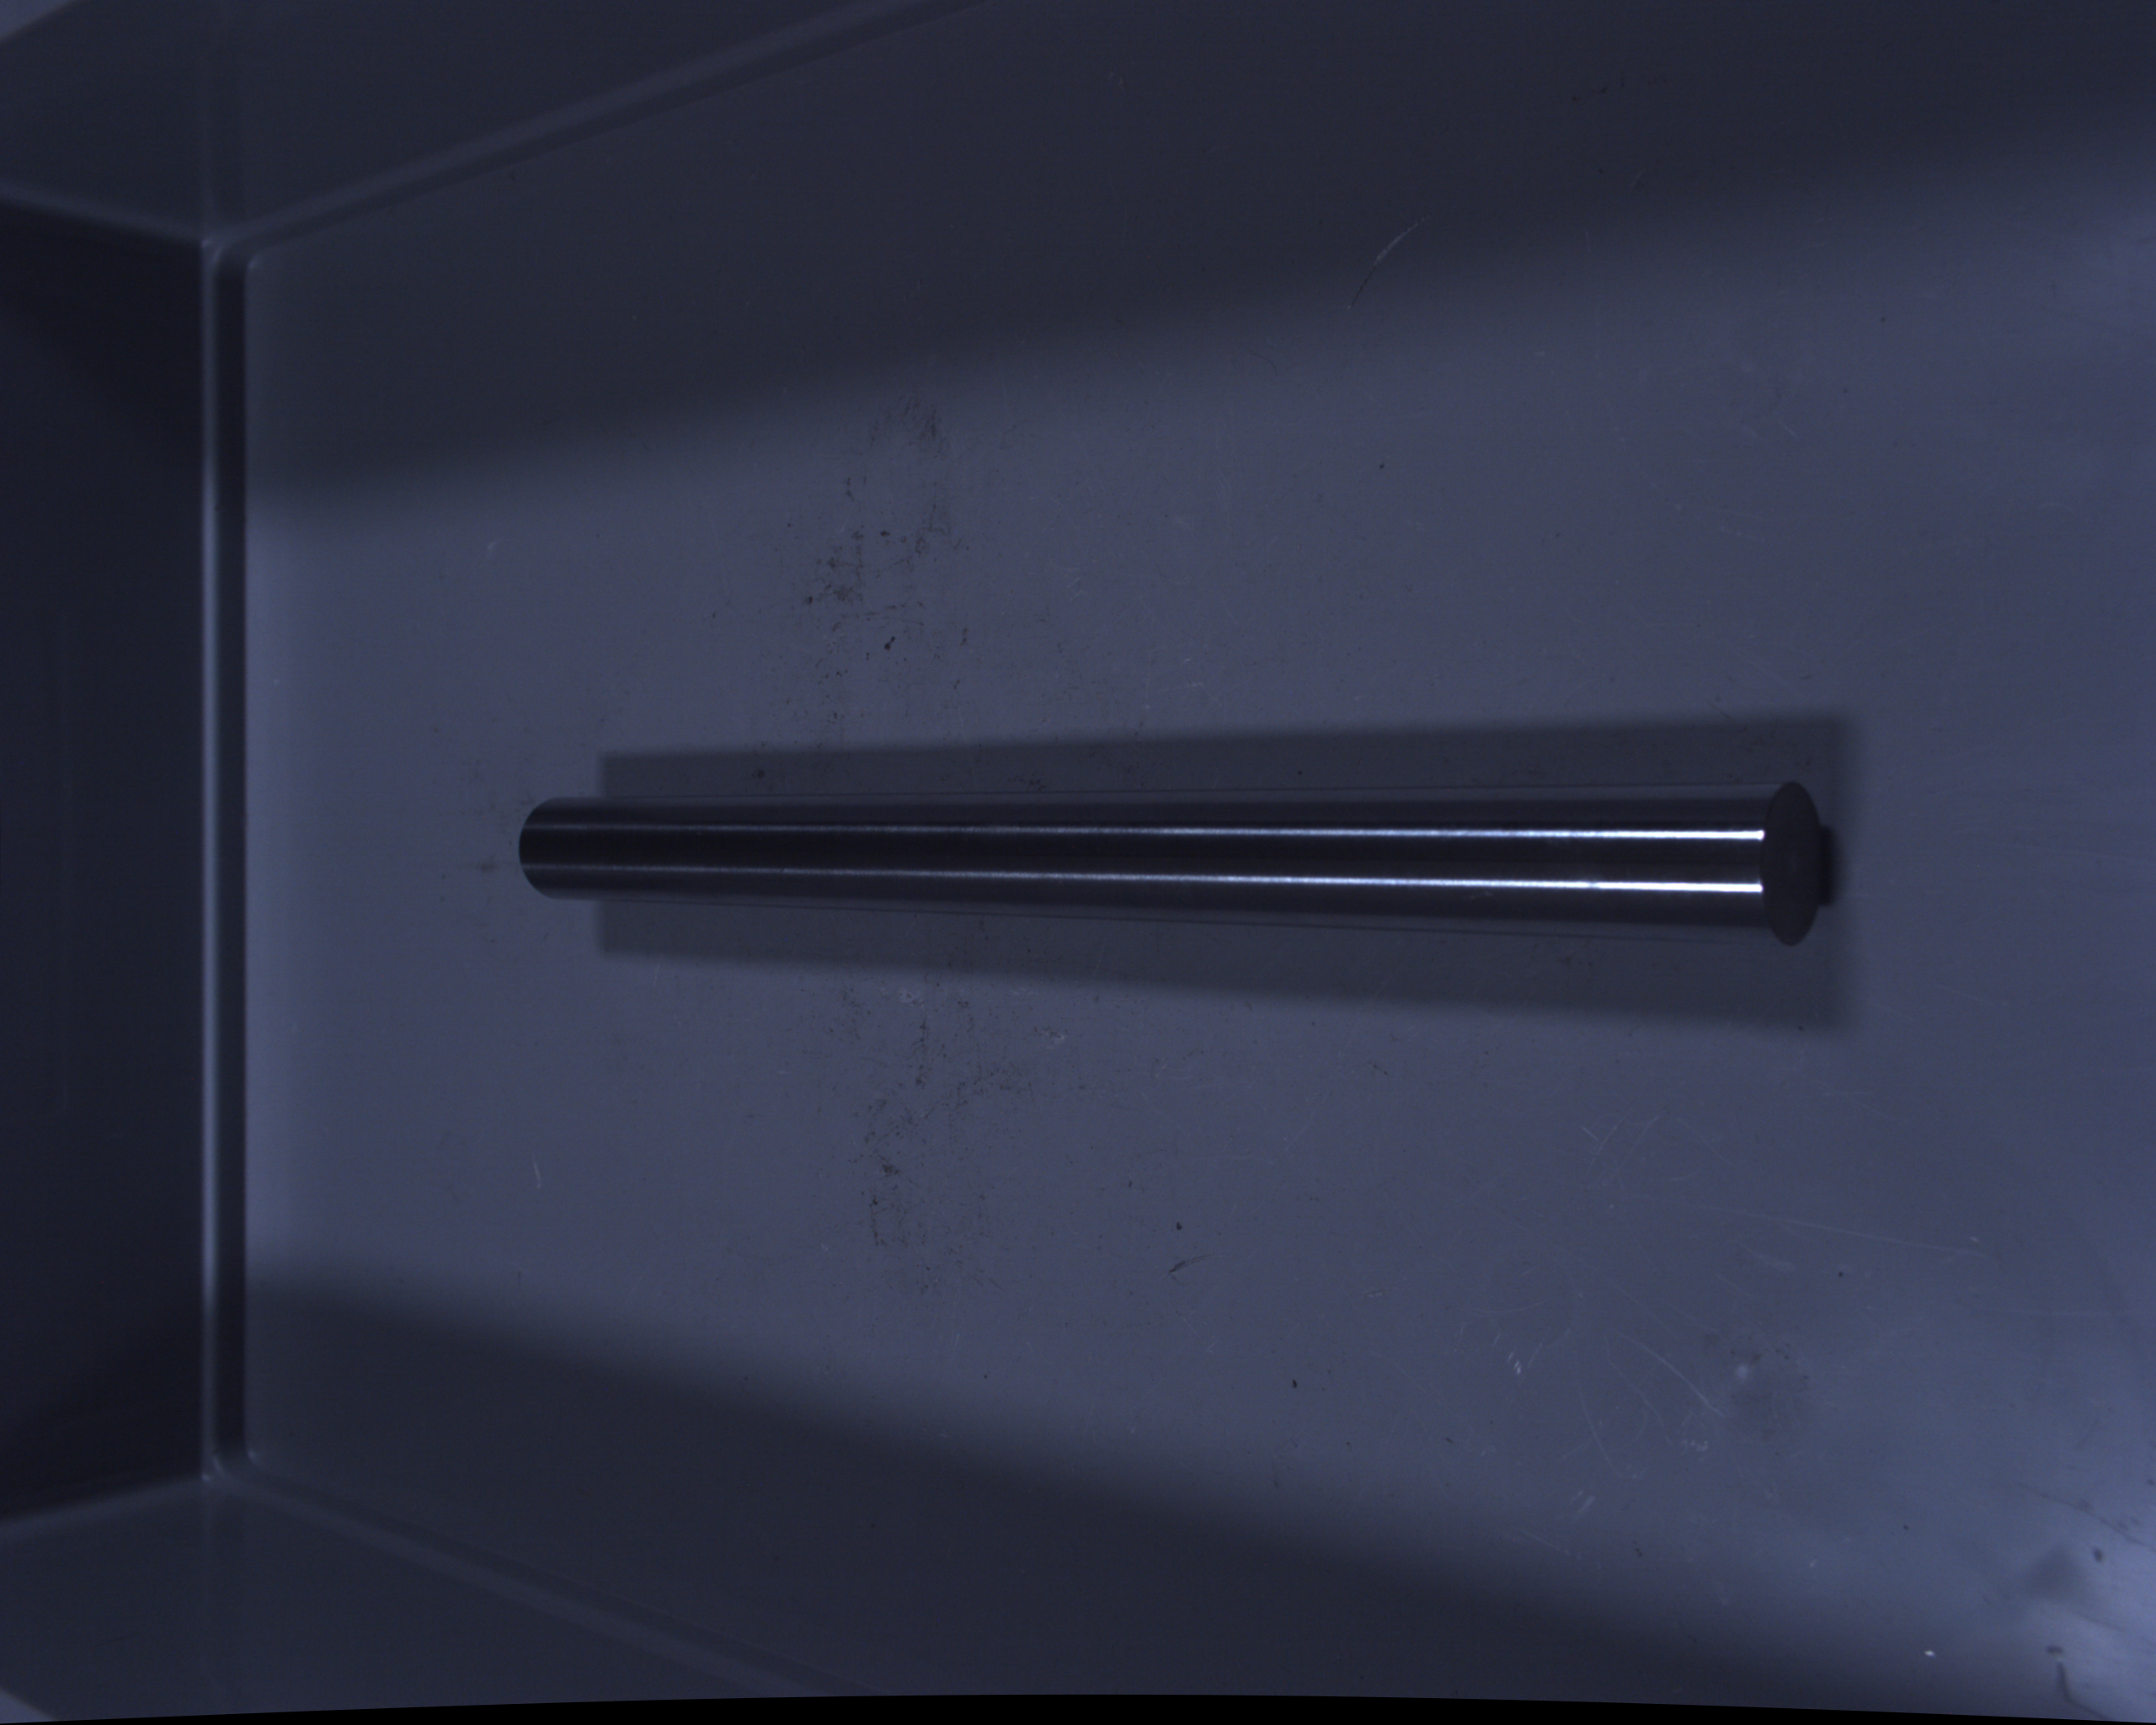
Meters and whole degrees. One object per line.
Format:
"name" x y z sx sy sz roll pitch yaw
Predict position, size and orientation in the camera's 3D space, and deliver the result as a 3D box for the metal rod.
"metal rod" -0.008 -0.002 0.409 0.300 0.025 0.025 1 91 39
